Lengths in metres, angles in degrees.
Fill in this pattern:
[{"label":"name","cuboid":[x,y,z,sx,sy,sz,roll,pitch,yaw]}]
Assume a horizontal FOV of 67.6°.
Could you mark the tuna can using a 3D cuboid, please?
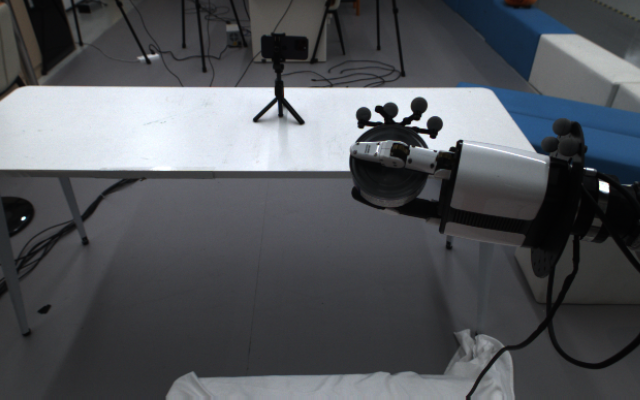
[{"label":"tuna can","cuboid":[0.077,-0.039,0.525,0.085,0.034,0.085,-2,70,7]}]
